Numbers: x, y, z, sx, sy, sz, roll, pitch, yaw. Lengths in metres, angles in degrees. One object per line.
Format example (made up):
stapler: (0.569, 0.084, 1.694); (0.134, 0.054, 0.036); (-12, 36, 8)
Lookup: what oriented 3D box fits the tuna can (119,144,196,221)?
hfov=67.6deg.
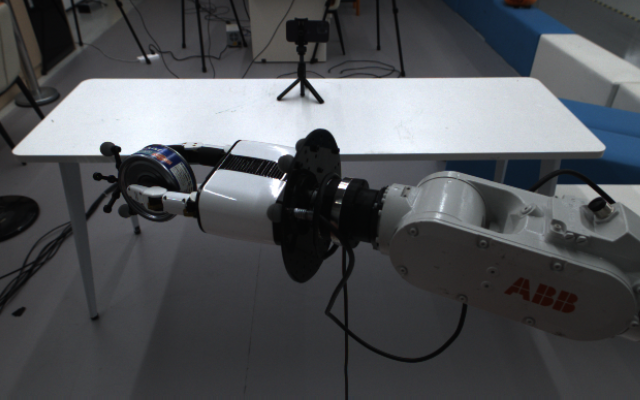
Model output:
tuna can: (-0.185, -0.020, 0.557); (0.085, 0.085, 0.034); (12, 29, 14)
